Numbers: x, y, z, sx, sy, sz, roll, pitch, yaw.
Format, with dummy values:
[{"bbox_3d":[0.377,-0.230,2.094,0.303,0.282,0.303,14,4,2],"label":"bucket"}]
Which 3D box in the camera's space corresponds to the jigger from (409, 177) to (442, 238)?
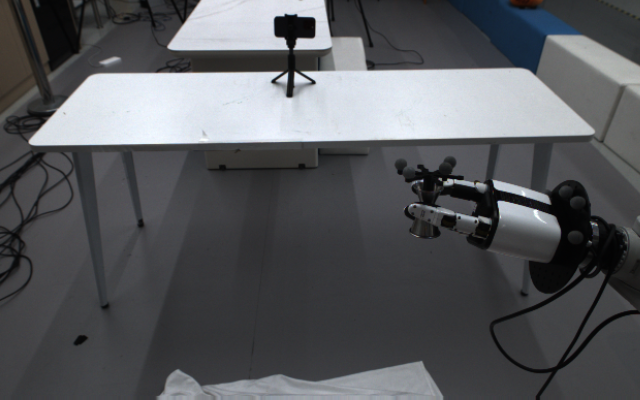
[{"bbox_3d":[0.146,0.013,0.670,0.043,0.071,0.043,0,21,0],"label":"jigger"}]
